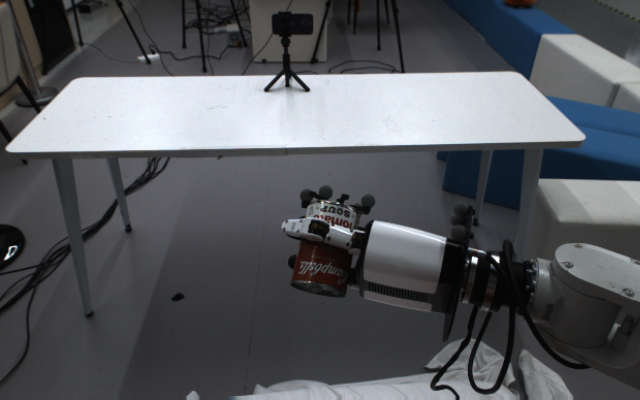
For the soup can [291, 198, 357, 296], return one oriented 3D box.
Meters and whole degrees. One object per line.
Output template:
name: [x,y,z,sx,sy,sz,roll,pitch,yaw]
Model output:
soup can: [0.009,0.059,0.579,0.067,0.067,0.101,9,71,10]
